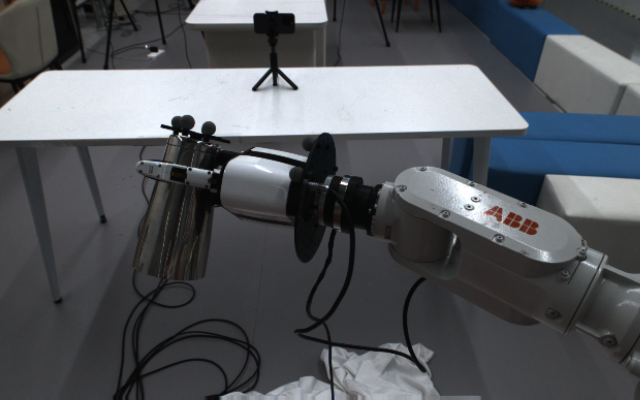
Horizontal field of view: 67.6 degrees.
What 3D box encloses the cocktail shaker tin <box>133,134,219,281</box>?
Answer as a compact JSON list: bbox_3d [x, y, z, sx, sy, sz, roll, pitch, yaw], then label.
[{"bbox_3d":[-0.176,0.008,0.621,0.093,0.170,0.093,12,3,-1],"label":"cocktail shaker tin"}]
